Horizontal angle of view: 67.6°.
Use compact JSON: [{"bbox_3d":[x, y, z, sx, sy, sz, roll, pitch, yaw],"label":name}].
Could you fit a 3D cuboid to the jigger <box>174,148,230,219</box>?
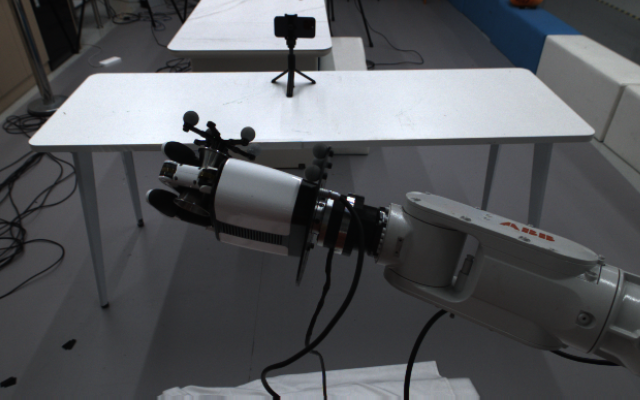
[{"bbox_3d":[-0.127,-0.020,0.547,0.043,0.043,0.071,12,71,14],"label":"jigger"}]
